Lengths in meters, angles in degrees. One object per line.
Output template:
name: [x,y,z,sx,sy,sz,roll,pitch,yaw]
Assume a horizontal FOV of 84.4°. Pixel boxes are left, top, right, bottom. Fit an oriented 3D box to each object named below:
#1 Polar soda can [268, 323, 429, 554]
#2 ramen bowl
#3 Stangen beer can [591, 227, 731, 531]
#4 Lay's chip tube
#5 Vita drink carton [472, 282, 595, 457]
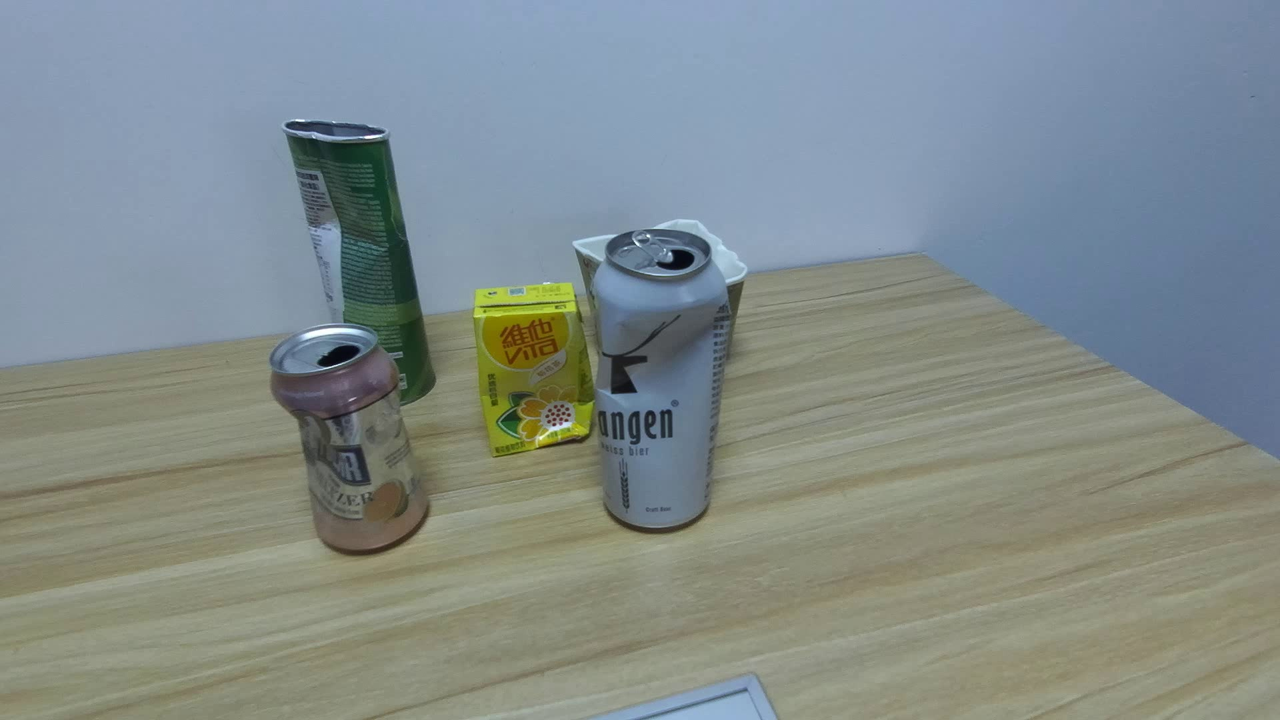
Polar soda can: [-0.162,0.047,0.398,0.067,0.122,0.074,-7,29,-8]
ramen bowl: [0.025,-0.047,0.571,0.114,0.097,0.133,-16,33,-27]
Stangen beer can: [0.010,0.015,0.396,0.070,0.173,0.070,20,37,31]
Lay's chip tube: [-0.200,-0.065,0.513,0.075,0.200,0.068,-6,32,-9]
Vita drink carton: [-0.070,0.007,0.478,0.076,0.109,0.043,-6,30,-9]
